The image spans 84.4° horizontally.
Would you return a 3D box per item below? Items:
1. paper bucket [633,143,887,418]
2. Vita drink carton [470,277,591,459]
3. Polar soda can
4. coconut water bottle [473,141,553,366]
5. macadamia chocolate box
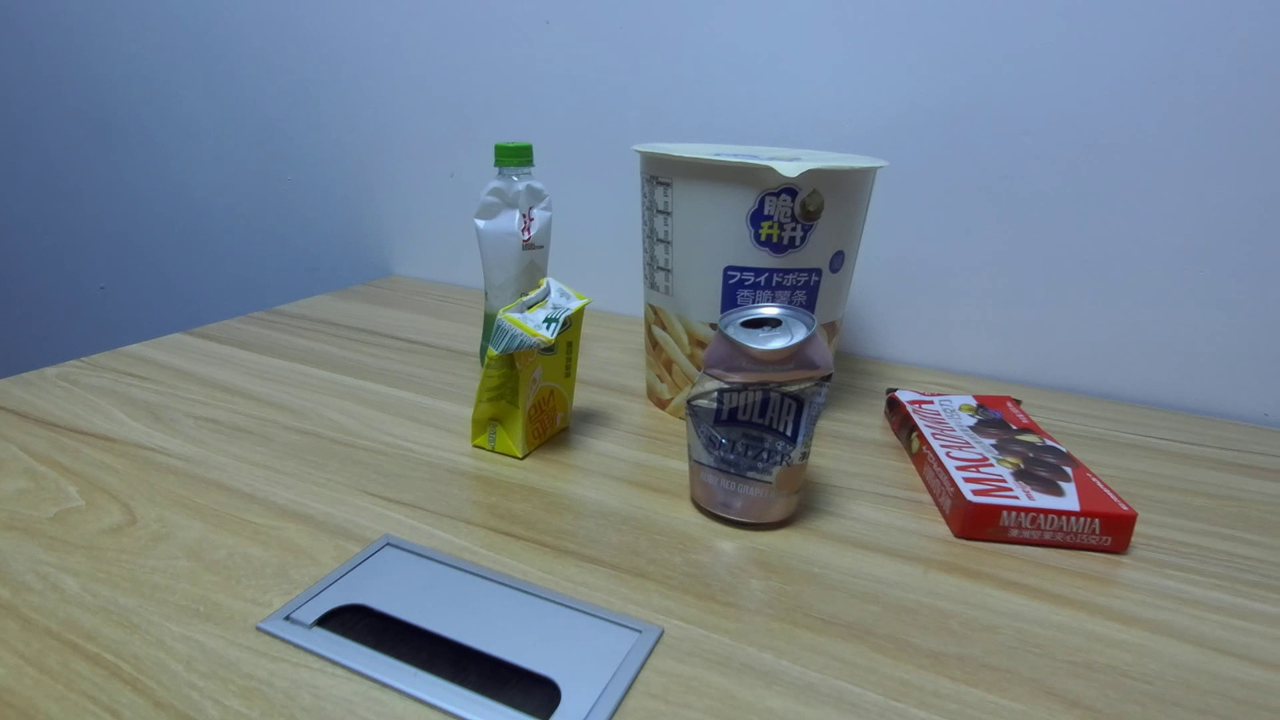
[{"bbox_3d":[0.083,-0.063,0.557,0.198,0.194,0.198,2,20,-1],"label":"paper bucket"},{"bbox_3d":[-0.071,0.007,0.475,0.042,0.108,0.087,26,30,18],"label":"Vita drink carton"},{"bbox_3d":[0.063,0.034,0.401,0.071,0.122,0.066,-5,27,-20],"label":"Polar soda can"},{"bbox_3d":[-0.105,-0.084,0.595,0.069,0.186,0.069,4,16,-1],"label":"coconut water bottle"},{"bbox_3d":[0.239,0.065,0.480,0.106,0.028,0.183,5,19,5],"label":"macadamia chocolate box"}]
